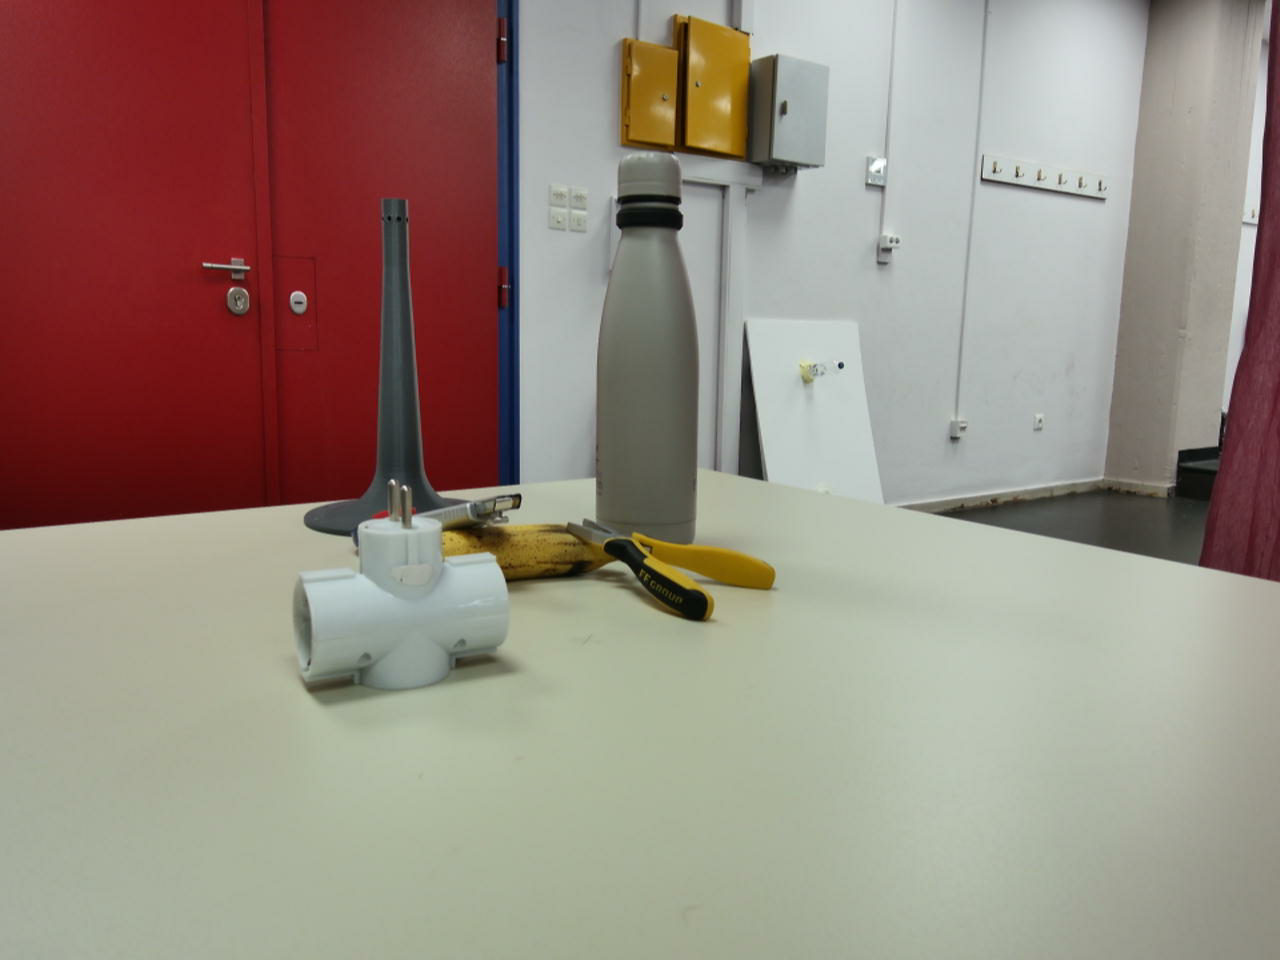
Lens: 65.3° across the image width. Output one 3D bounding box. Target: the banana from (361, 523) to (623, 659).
[{"bbox_3d":[-0.092,0.052,0.583,0.097,0.038,0.186,4,8,26],"label":"banana"}]
